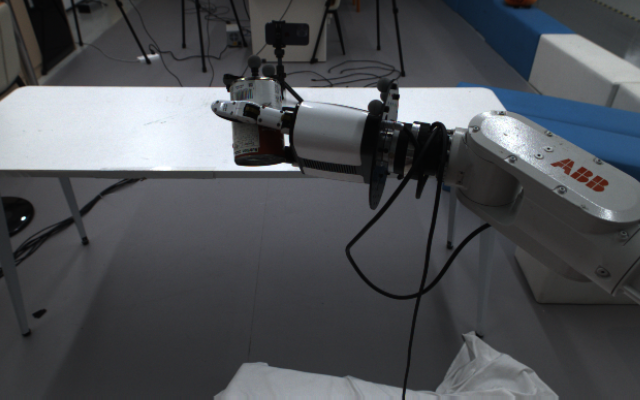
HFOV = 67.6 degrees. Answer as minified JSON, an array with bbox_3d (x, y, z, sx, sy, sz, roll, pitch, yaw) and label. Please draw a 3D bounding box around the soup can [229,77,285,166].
[{"bbox_3d":[-0.080,-0.099,0.624,0.067,0.101,0.067,-5,-5,0],"label":"soup can"}]
